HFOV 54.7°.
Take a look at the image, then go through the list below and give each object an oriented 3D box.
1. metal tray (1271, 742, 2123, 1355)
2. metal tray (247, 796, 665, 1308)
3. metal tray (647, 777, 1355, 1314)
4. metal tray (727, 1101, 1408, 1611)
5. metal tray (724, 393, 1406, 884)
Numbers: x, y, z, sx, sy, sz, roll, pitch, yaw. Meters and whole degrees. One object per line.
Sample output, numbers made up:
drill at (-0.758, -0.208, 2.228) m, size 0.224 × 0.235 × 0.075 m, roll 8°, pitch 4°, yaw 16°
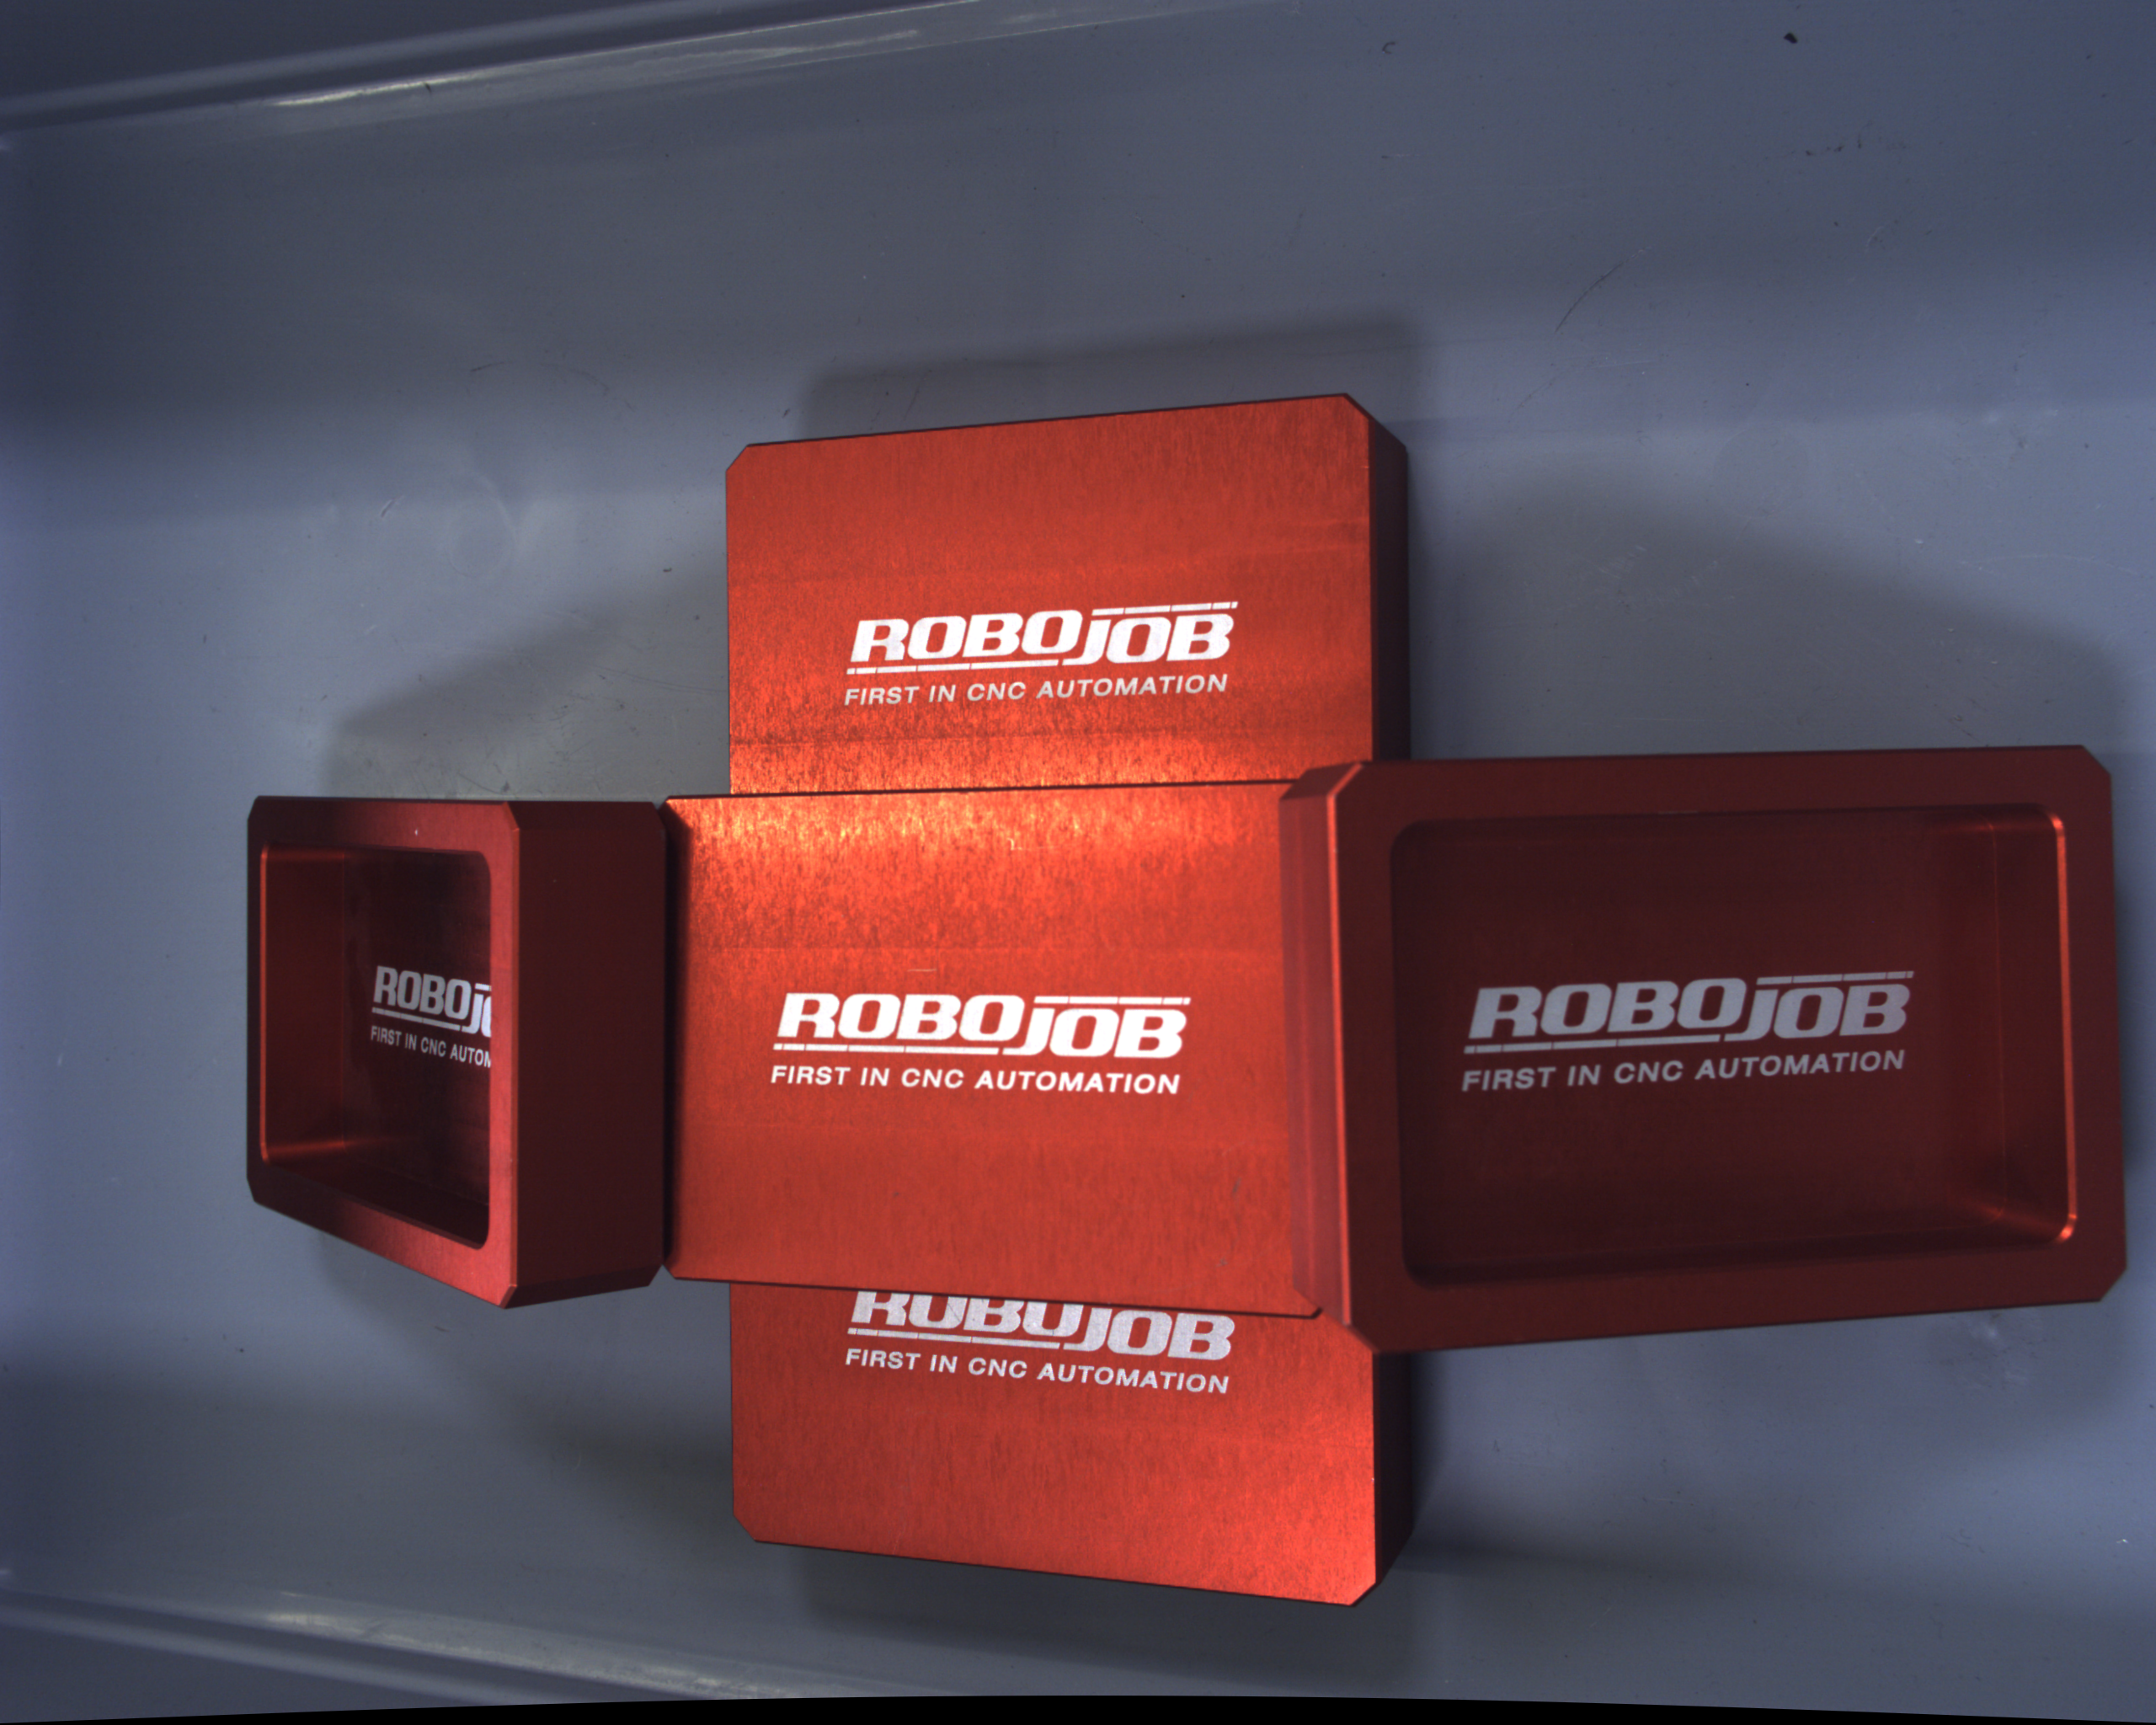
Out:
metal tray at (0.100, 0.027, 0.338) m, size 0.131 × 0.030 × 0.089 m, roll -2°, pitch 90°, yaw -10°
metal tray at (-0.129, 0.032, 0.419) m, size 0.130 × 0.030 × 0.089 m, roll 2°, pitch 92°, yaw 49°
metal tray at (-0.013, 0.031, 0.379) m, size 0.130 × 0.030 × 0.089 m, roll -1°, pitch 90°, yaw 19°
metal tray at (-0.003, 0.090, 0.406) m, size 0.130 × 0.030 × 0.089 m, roll 0°, pitch 90°, yaw 19°
metal tray at (-0.004, -0.039, 0.406) m, size 0.130 × 0.030 × 0.089 m, roll 0°, pitch 90°, yaw 19°
